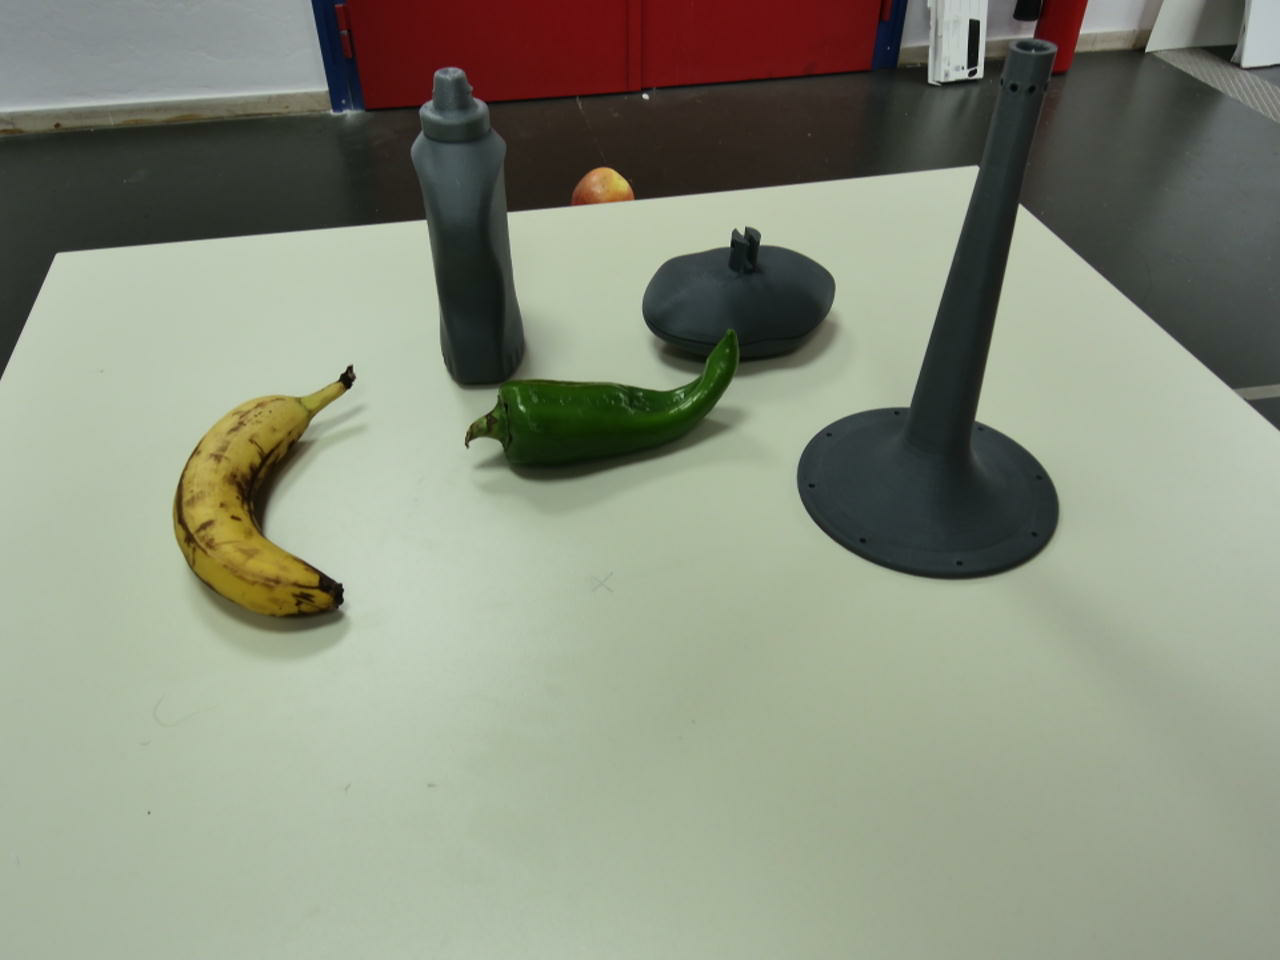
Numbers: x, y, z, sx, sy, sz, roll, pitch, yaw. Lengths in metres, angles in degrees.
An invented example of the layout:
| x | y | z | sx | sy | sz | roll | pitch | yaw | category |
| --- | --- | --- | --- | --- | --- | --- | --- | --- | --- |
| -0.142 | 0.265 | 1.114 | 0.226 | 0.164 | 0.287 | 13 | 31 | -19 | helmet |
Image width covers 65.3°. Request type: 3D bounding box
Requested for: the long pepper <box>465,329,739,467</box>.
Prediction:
| x | y | z | sx | sy | sz | roll | pitch | yaw | category |
| --- | --- | --- | --- | --- | --- | --- | --- | --- | --- |
| -0.020 | -0.047 | 0.604 | 0.175 | 0.065 | 0.058 | -9 | 40 | -11 | long pepper |
